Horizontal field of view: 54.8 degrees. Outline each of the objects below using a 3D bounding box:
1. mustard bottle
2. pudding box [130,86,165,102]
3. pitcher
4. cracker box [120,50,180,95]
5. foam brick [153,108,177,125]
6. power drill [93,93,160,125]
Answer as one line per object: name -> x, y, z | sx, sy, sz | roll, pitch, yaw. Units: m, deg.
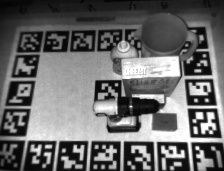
mustard bottle -> 0.035, -0.120, 0.737 | 0.096, 0.192, 0.058 | 11, 74, 10
pudding box -> 0.117, 0.035, 0.729 | 0.113, 0.090, 0.038 | -2, 70, 8
pitcher -> 0.166, -0.128, 0.716 | 0.188, 0.244, 0.133 | 4, 72, 10
cracker box -> 0.119, -0.028, 0.693 | 0.164, 0.215, 0.072 | -4, 69, 7
foam brick -> 0.178, 0.105, 0.736 | 0.078, 0.051, 0.052 | 1, 74, 6
power drill -> 0.047, 0.073, 0.650 | 0.184, 0.188, 0.057 | -3, 68, 4
